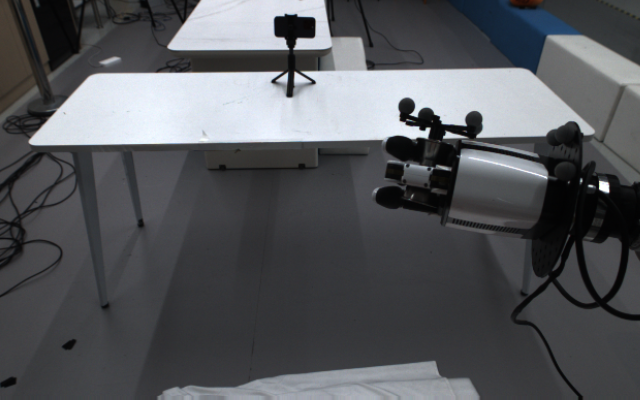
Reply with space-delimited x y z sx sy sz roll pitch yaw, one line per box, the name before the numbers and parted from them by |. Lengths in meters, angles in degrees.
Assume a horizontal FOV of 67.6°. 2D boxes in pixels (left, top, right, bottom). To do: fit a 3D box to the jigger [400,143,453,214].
jigger | 0.118 -0.029 0.523 0.043 0.071 0.043 14 1 0
